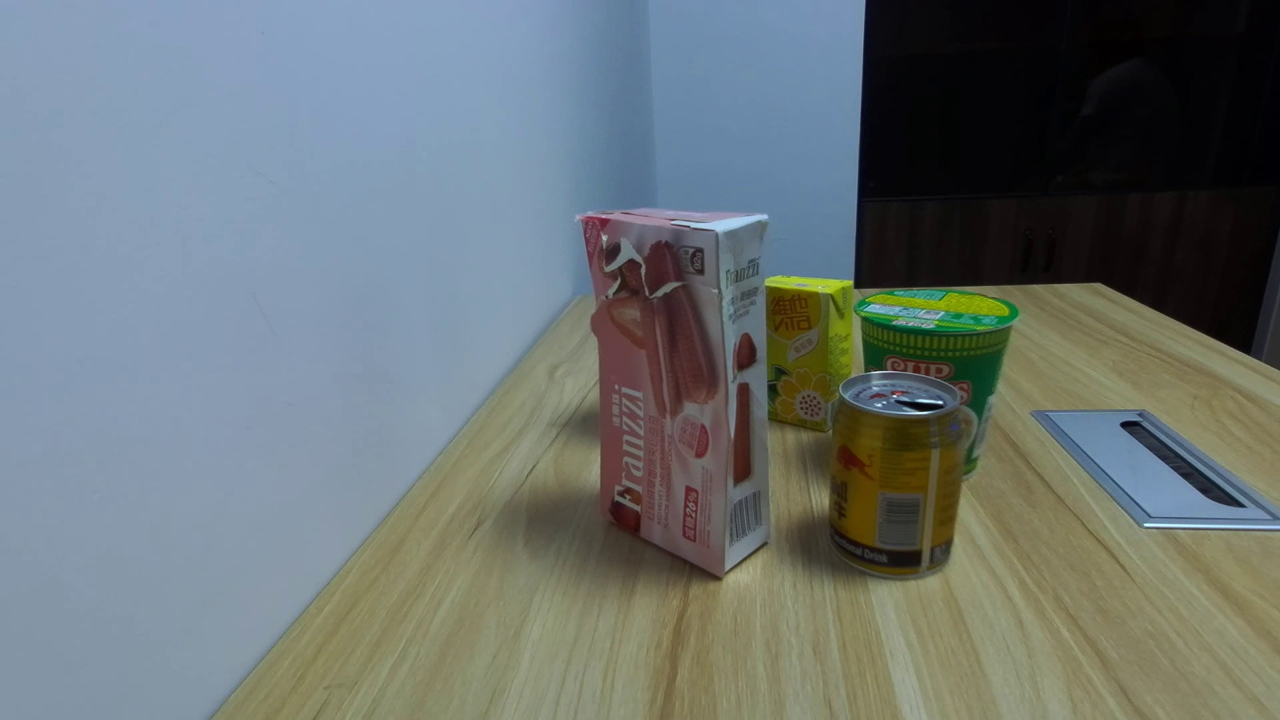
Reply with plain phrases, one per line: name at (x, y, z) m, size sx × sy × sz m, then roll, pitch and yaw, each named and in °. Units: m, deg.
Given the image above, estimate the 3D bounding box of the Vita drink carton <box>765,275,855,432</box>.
Vita drink carton at (0.120, -0.007, 0.542) m, size 0.076 × 0.109 × 0.043 m, roll 11°, pitch 23°, yaw 35°

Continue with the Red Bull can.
Red Bull can at (0.134, 0.058, 0.375) m, size 0.068 × 0.093 × 0.068 m, roll -2°, pitch 20°, yaw 1°

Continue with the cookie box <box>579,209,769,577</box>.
cookie box at (0.019, 0.015, 0.380) m, size 0.060 × 0.186 × 0.104 m, roll -18°, pitch 24°, yaw -40°

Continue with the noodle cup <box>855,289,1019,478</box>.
noodle cup at (0.188, 0.018, 0.458) m, size 0.097 × 0.110 × 0.097 m, roll -4°, pitch 19°, yaw 2°
